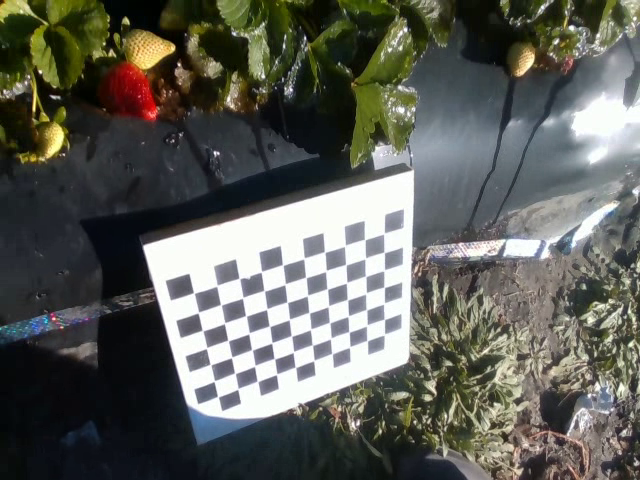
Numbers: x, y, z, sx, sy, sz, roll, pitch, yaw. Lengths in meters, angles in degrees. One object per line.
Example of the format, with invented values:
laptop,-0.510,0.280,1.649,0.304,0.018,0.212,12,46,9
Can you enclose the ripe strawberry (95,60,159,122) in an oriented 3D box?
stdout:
ripe strawberry,-0.134,-0.103,0.444,0.053,0.040,0.042,41,-1,24
